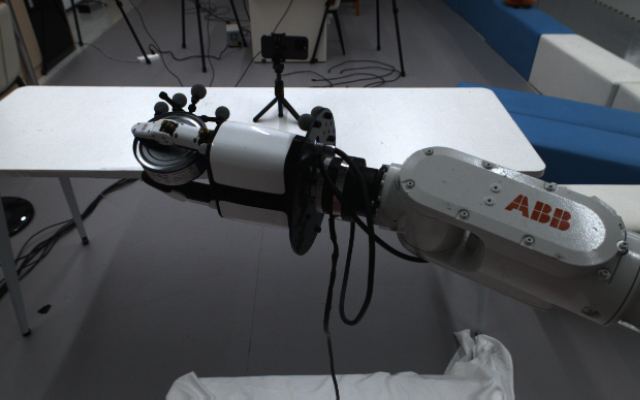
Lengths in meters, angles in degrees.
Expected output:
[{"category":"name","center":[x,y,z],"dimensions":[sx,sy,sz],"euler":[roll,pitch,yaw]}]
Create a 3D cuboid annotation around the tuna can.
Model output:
[{"category":"tuna can","center":[-0.167,-0.061,0.558],"dimensions":[0.085,0.034,0.085],"euler":[-3,57,4]}]
